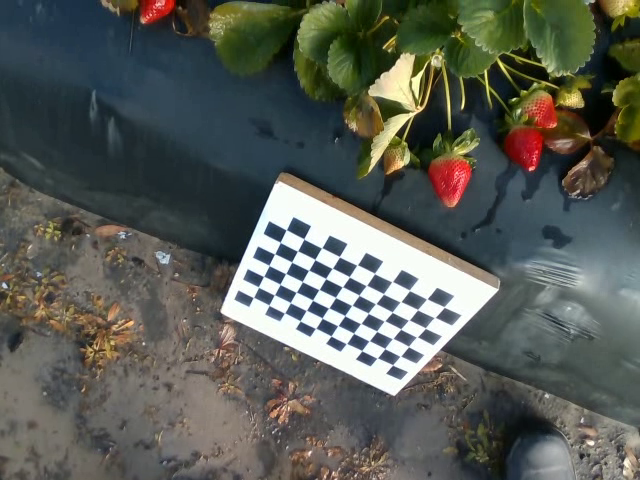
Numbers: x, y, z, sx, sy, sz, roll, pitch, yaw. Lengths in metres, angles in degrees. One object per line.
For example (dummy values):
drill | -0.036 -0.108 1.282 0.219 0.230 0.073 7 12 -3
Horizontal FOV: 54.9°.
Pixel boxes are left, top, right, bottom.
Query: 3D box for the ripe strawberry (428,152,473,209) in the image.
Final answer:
ripe strawberry | 0.142 -0.065 0.669 0.050 0.065 0.049 -3 -17 25

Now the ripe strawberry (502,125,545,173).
ripe strawberry | 0.222 -0.097 0.667 0.044 0.055 0.041 -27 -25 37
